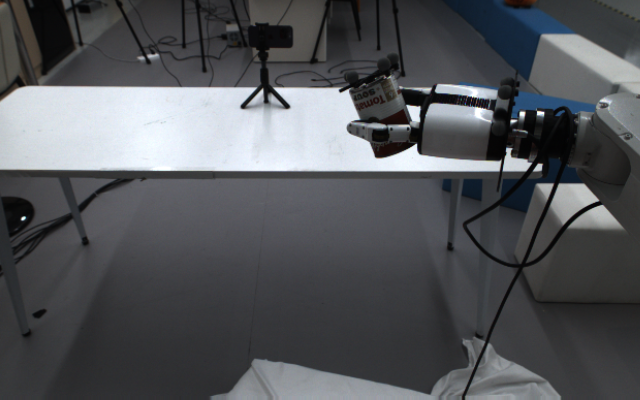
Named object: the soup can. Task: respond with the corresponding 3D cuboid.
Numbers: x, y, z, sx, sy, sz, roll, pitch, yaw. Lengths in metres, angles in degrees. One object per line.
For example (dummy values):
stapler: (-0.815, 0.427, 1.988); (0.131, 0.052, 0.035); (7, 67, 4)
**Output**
soup can: (0.091, -0.119, 0.679); (0.067, 0.101, 0.067); (-23, 16, 7)
